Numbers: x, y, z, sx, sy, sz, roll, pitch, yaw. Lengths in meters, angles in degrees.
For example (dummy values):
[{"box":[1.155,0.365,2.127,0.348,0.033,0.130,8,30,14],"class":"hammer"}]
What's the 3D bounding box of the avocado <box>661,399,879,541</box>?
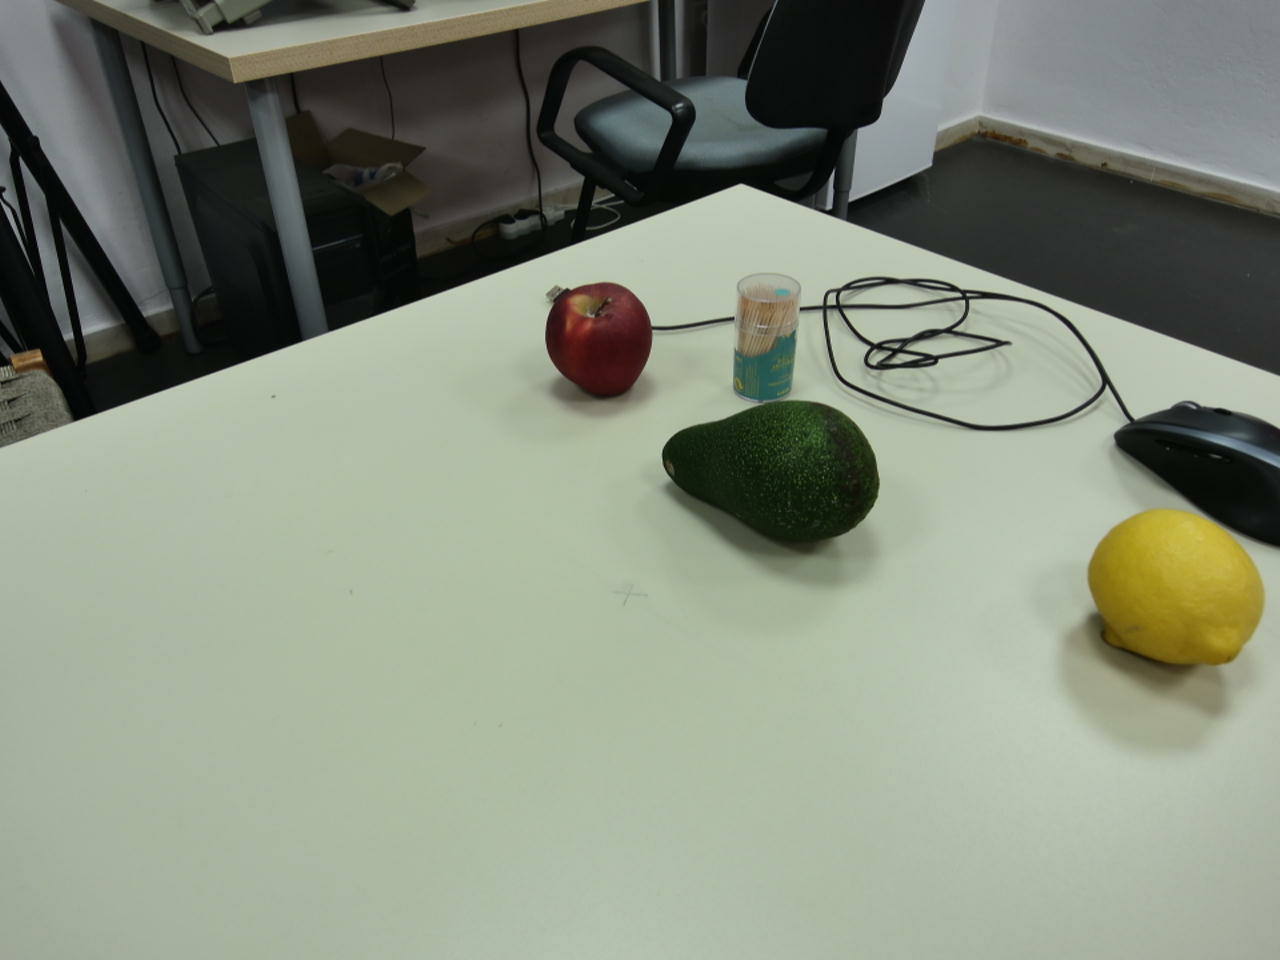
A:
[{"box":[0.073,-0.012,0.530,0.074,0.076,0.123,-21,41,-26],"class":"avocado"}]
